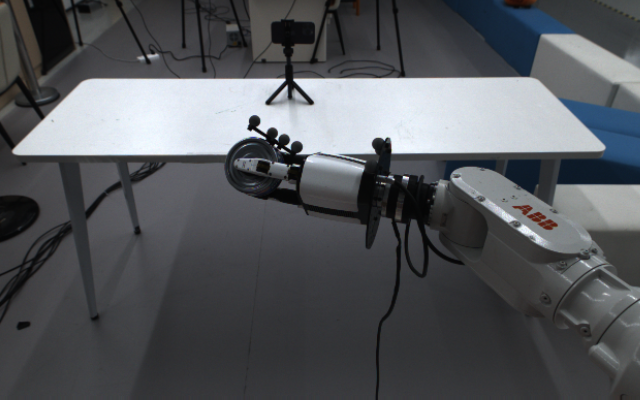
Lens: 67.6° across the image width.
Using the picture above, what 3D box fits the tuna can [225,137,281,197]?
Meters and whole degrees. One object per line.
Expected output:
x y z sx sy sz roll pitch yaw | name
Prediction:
-0.095 -0.043 0.718 0.085 0.085 0.034 12 -5 14 | tuna can
